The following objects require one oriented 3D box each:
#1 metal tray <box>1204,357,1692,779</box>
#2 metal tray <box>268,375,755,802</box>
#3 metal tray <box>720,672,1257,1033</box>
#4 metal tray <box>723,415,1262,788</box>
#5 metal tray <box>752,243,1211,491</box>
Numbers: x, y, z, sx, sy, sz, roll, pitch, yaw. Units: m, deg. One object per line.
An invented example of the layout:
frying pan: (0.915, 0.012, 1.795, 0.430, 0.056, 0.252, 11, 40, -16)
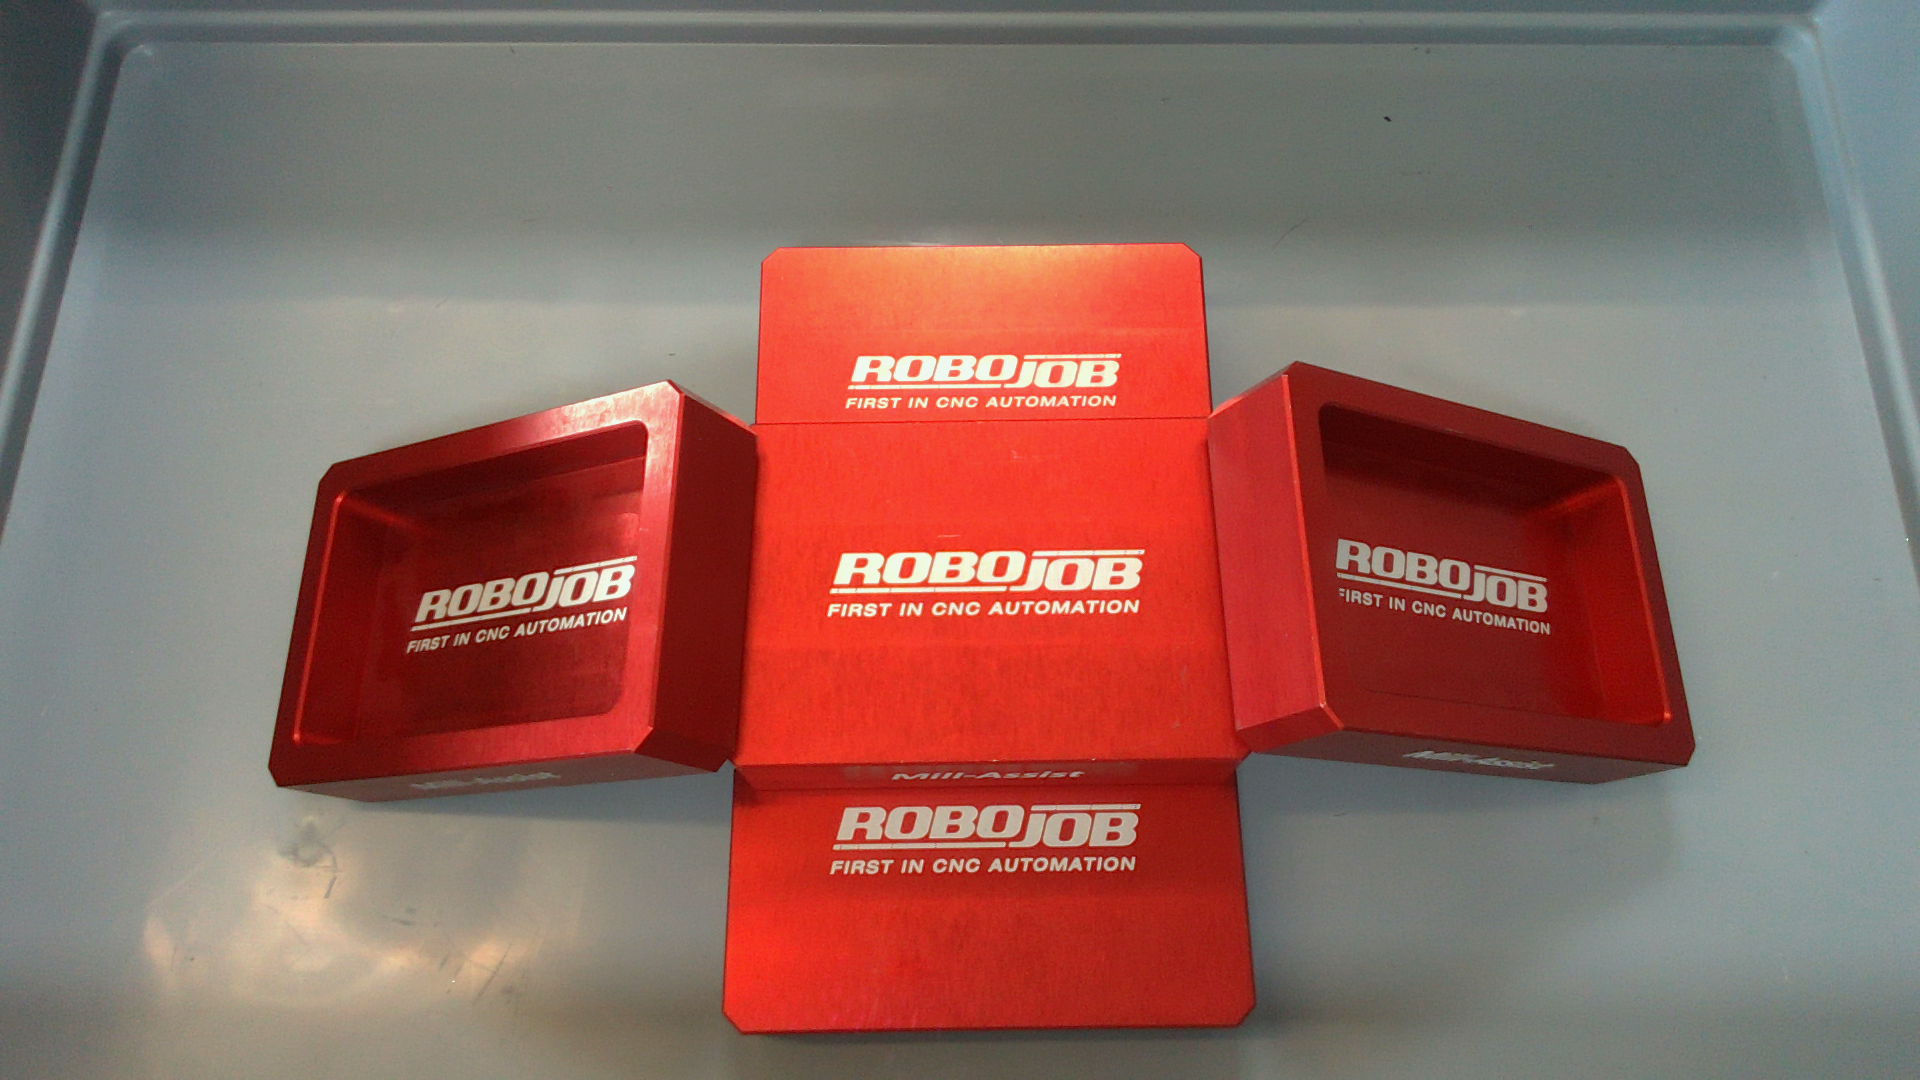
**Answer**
metal tray: (0.126, 0.011, 0.354, 0.130, 0.030, 0.090, 9, 68, -28)
metal tray: (-0.116, 0.016, 0.352, 0.130, 0.030, 0.090, -10, 68, 28)
metal tray: (0.007, 0.081, 0.360, 0.130, 0.030, 0.090, 0, 70, -1)
metal tray: (0.007, 0.016, 0.353, 0.130, 0.030, 0.090, -1, 70, -1)
metal tray: (0.006, -0.041, 0.405, 0.130, 0.030, 0.090, 0, 70, -1)
